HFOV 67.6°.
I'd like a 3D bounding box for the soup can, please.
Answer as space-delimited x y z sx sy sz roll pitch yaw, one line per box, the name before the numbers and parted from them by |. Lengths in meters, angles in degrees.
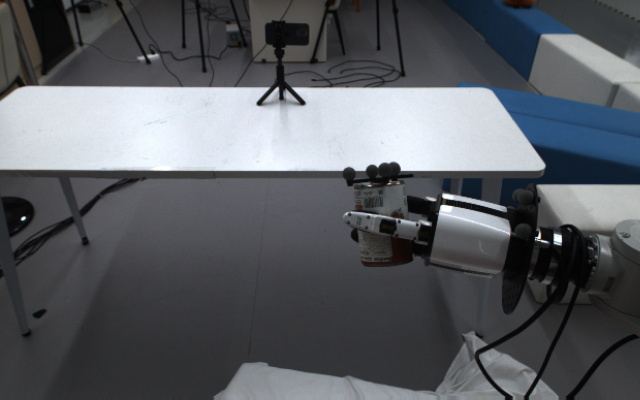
soup can | 0.082 0.028 0.616 0.067 0.101 0.067 -7 3 0
